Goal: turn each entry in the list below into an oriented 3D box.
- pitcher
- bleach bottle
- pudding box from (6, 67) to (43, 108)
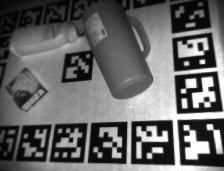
[{"bbox_3d":[0.011,-0.104,0.589,0.190,0.133,0.241,-16,67,-24],"label":"pitcher"},{"bbox_3d":[-0.228,-0.170,0.714,0.249,0.068,0.102,-9,73,14],"label":"bleach bottle"},{"bbox_3d":[-0.284,0.002,0.679,0.090,0.039,0.112,-45,65,-7],"label":"pudding box"}]
